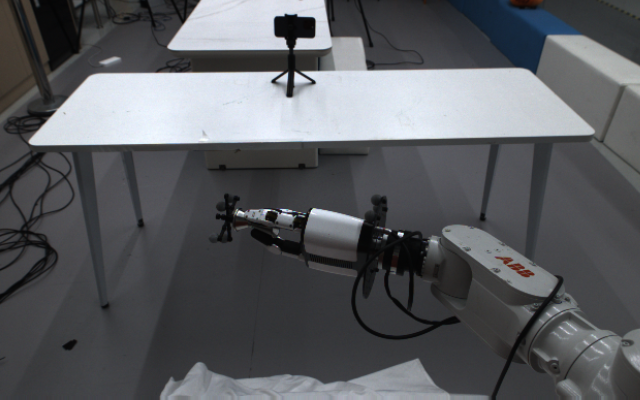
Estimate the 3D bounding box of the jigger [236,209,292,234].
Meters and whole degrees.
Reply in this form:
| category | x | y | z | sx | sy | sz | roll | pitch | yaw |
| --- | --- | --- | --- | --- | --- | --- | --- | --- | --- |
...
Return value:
| category | x | y | z | sx | sy | sz | roll | pitch | yaw |
| --- | --- | --- | --- | --- | --- | --- | --- | --- | --- |
| jigger | -0.096 | 0.033 | 0.785 | 0.071 | 0.043 | 0.043 | 7 | 35 | 13 |
